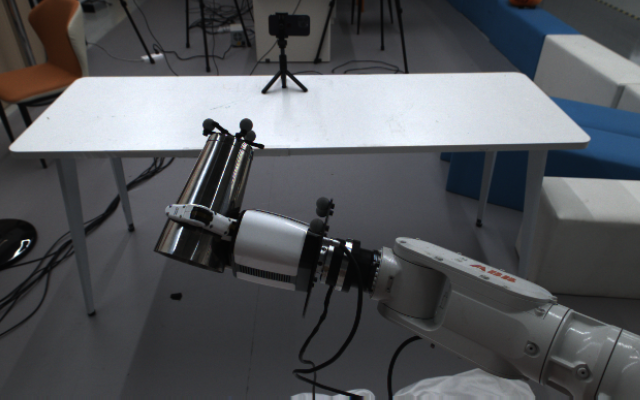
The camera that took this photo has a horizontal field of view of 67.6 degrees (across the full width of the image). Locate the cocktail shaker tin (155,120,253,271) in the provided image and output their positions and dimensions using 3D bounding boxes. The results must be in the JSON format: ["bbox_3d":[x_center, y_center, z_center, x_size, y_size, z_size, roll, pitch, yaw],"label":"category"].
[{"bbox_3d":[-0.146,0.002,0.641,0.093,0.093,0.170,12,74,15],"label":"cocktail shaker tin"}]
